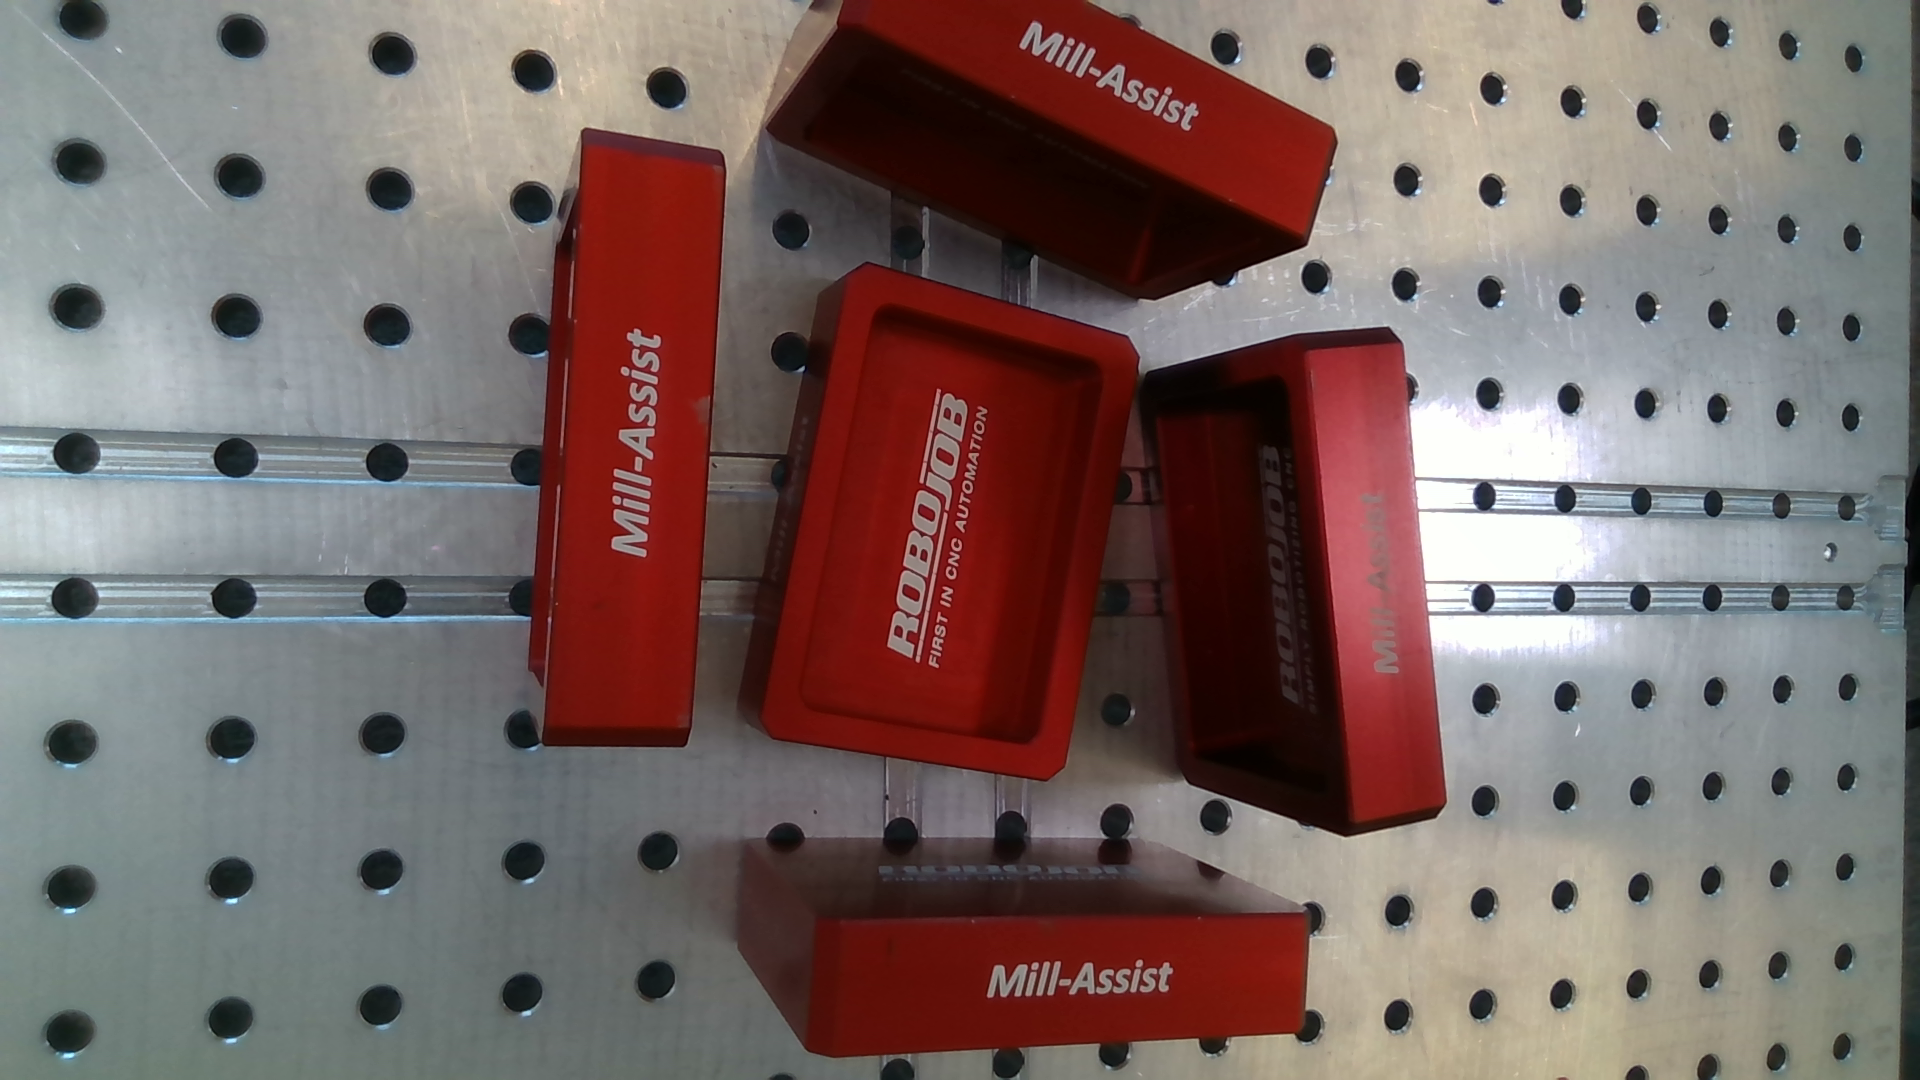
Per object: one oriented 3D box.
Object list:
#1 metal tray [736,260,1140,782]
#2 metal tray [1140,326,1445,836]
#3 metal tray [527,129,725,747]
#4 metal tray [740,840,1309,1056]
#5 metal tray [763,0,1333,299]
[{"bbox_3d":[-0.006,-0.003,0.391,0.090,0.030,0.130,12,86,-20],"label":"metal tray"},{"bbox_3d":[0.092,0.011,0.395,0.030,0.090,0.130,-7,92,-20],"label":"metal tray"},{"bbox_3d":[-0.083,-0.021,0.331,0.030,0.090,0.130,4,88,-20],"label":"metal tray"},{"bbox_3d":[0.014,0.104,0.367,0.130,0.090,0.030,5,88,-20],"label":"metal tray"},{"bbox_3d":[0.020,-0.109,0.369,0.130,0.090,0.030,19,83,-19],"label":"metal tray"}]
